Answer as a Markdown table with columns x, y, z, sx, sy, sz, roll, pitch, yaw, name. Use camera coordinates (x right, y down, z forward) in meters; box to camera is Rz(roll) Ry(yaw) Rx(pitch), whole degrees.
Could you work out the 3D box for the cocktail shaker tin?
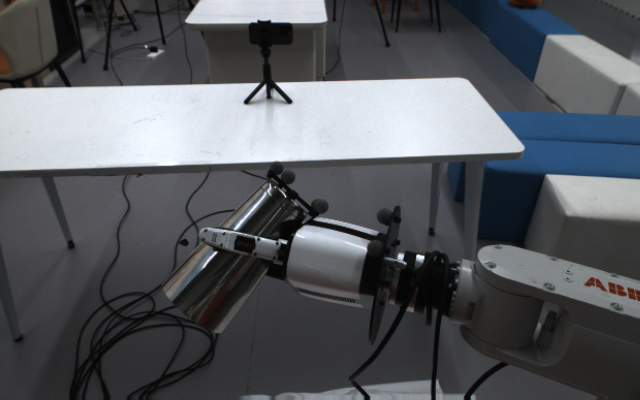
| x | y | z | sx | sy | sz | roll | pitch | yaw | name |
| --- | --- | --- | --- | --- | --- | --- | --- | --- | --- |
| -0.093 | 0.059 | 0.577 | 0.170 | 0.093 | 0.093 | -48 | 49 | -3 | cocktail shaker tin |
